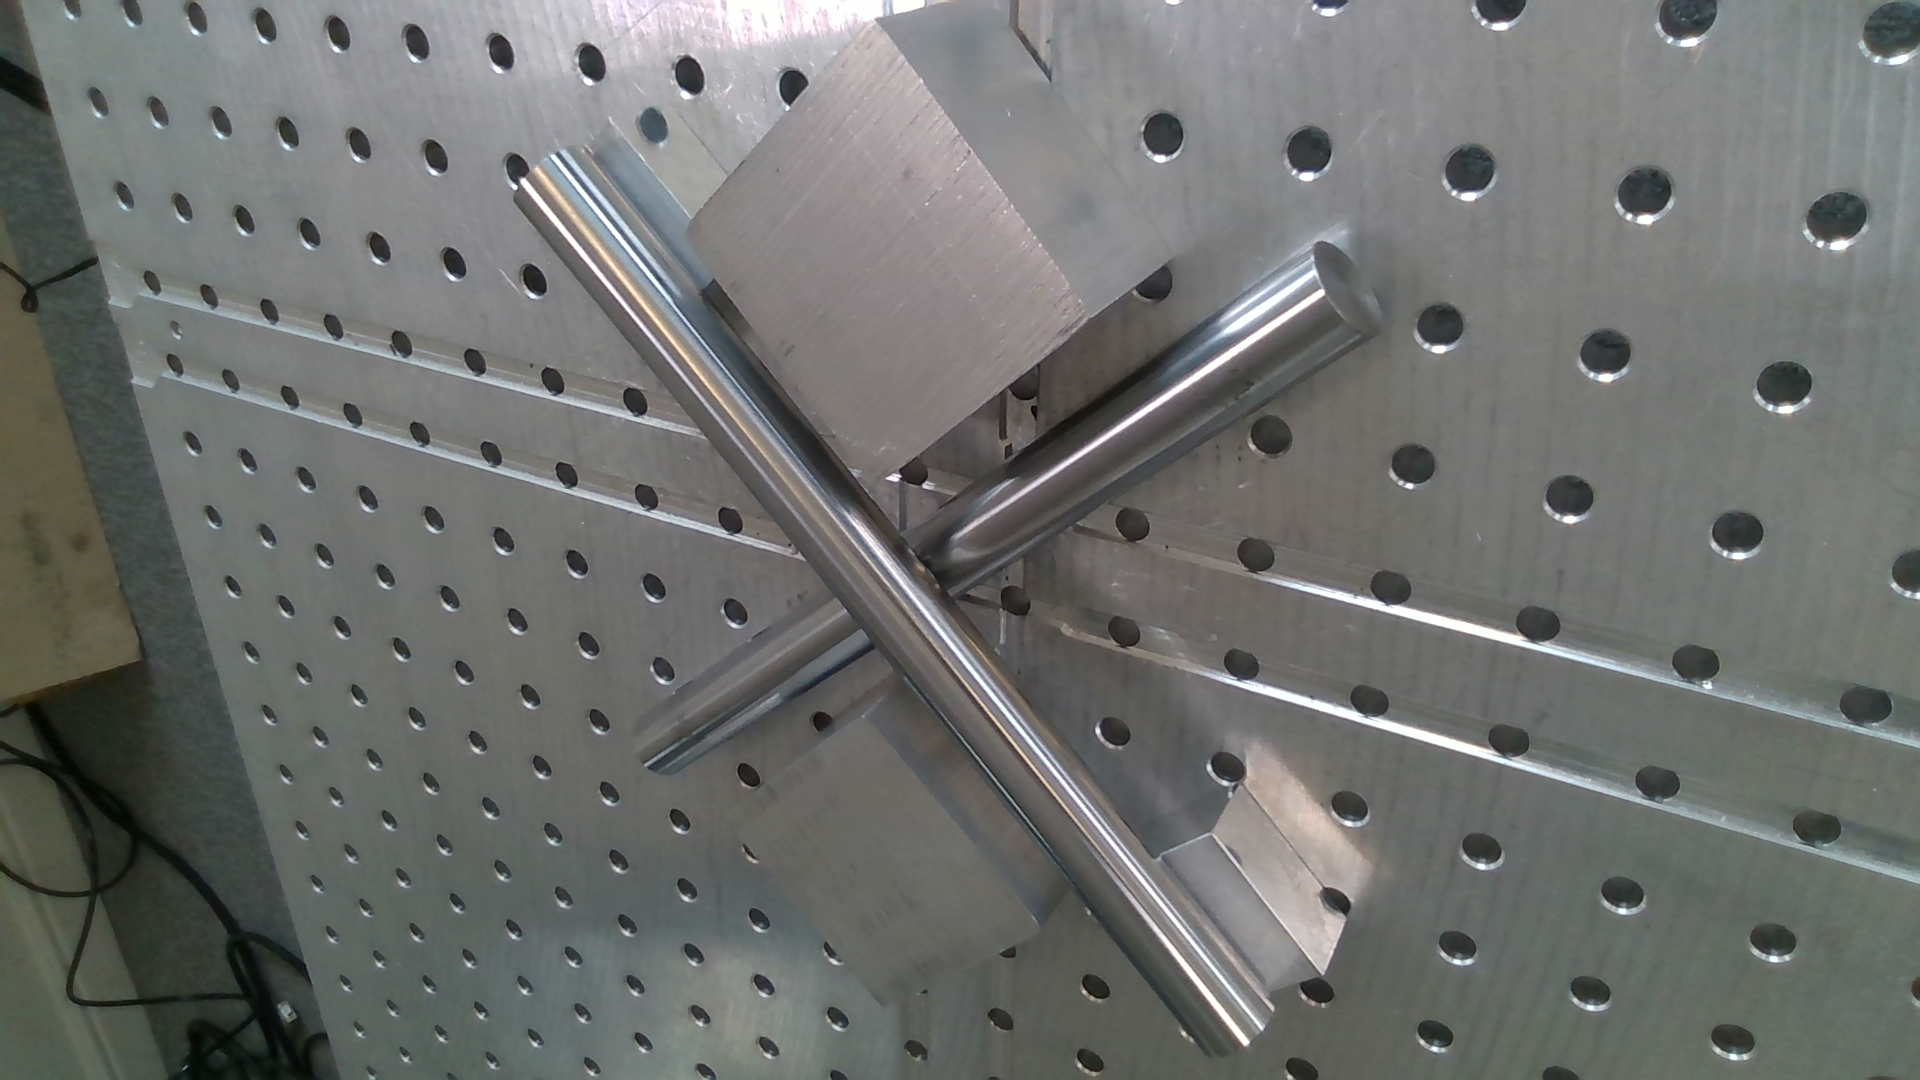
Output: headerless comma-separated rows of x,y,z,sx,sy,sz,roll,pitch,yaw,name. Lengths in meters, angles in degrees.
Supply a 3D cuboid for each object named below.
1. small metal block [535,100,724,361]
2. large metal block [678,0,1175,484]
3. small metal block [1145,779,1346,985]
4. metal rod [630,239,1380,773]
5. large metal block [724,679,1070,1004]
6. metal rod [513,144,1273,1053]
-0.088,-0.088,0.398,0.050,0.025,0.050,51,129,-2,small metal block
-0.009,-0.074,0.341,0.080,0.050,0.080,-34,95,39,large metal block
0.075,0.105,0.404,0.050,0.025,0.050,-36,94,39,small metal block
-0.011,0.008,0.402,0.301,0.025,0.025,-34,95,39,metal rod
-0.013,0.088,0.432,0.080,0.050,0.080,50,129,-1,large metal block
-0.017,0.018,0.379,0.300,0.025,0.025,51,129,-2,metal rod
